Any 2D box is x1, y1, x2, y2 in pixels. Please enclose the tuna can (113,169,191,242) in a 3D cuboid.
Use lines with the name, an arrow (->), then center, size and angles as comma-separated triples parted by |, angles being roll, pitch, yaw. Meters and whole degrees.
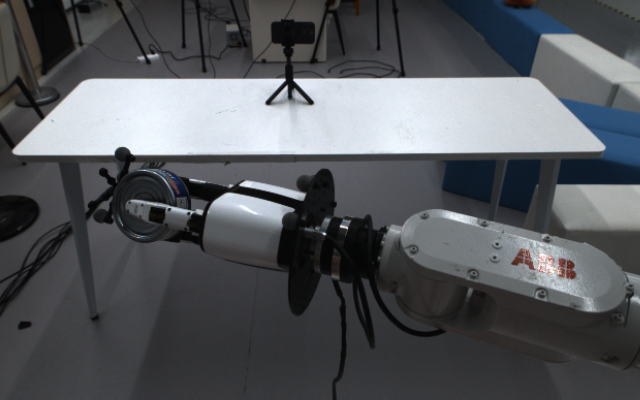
tuna can -> -0.191, 0.011, 0.558 | 0.085, 0.085, 0.034 | 12, 5, 14
